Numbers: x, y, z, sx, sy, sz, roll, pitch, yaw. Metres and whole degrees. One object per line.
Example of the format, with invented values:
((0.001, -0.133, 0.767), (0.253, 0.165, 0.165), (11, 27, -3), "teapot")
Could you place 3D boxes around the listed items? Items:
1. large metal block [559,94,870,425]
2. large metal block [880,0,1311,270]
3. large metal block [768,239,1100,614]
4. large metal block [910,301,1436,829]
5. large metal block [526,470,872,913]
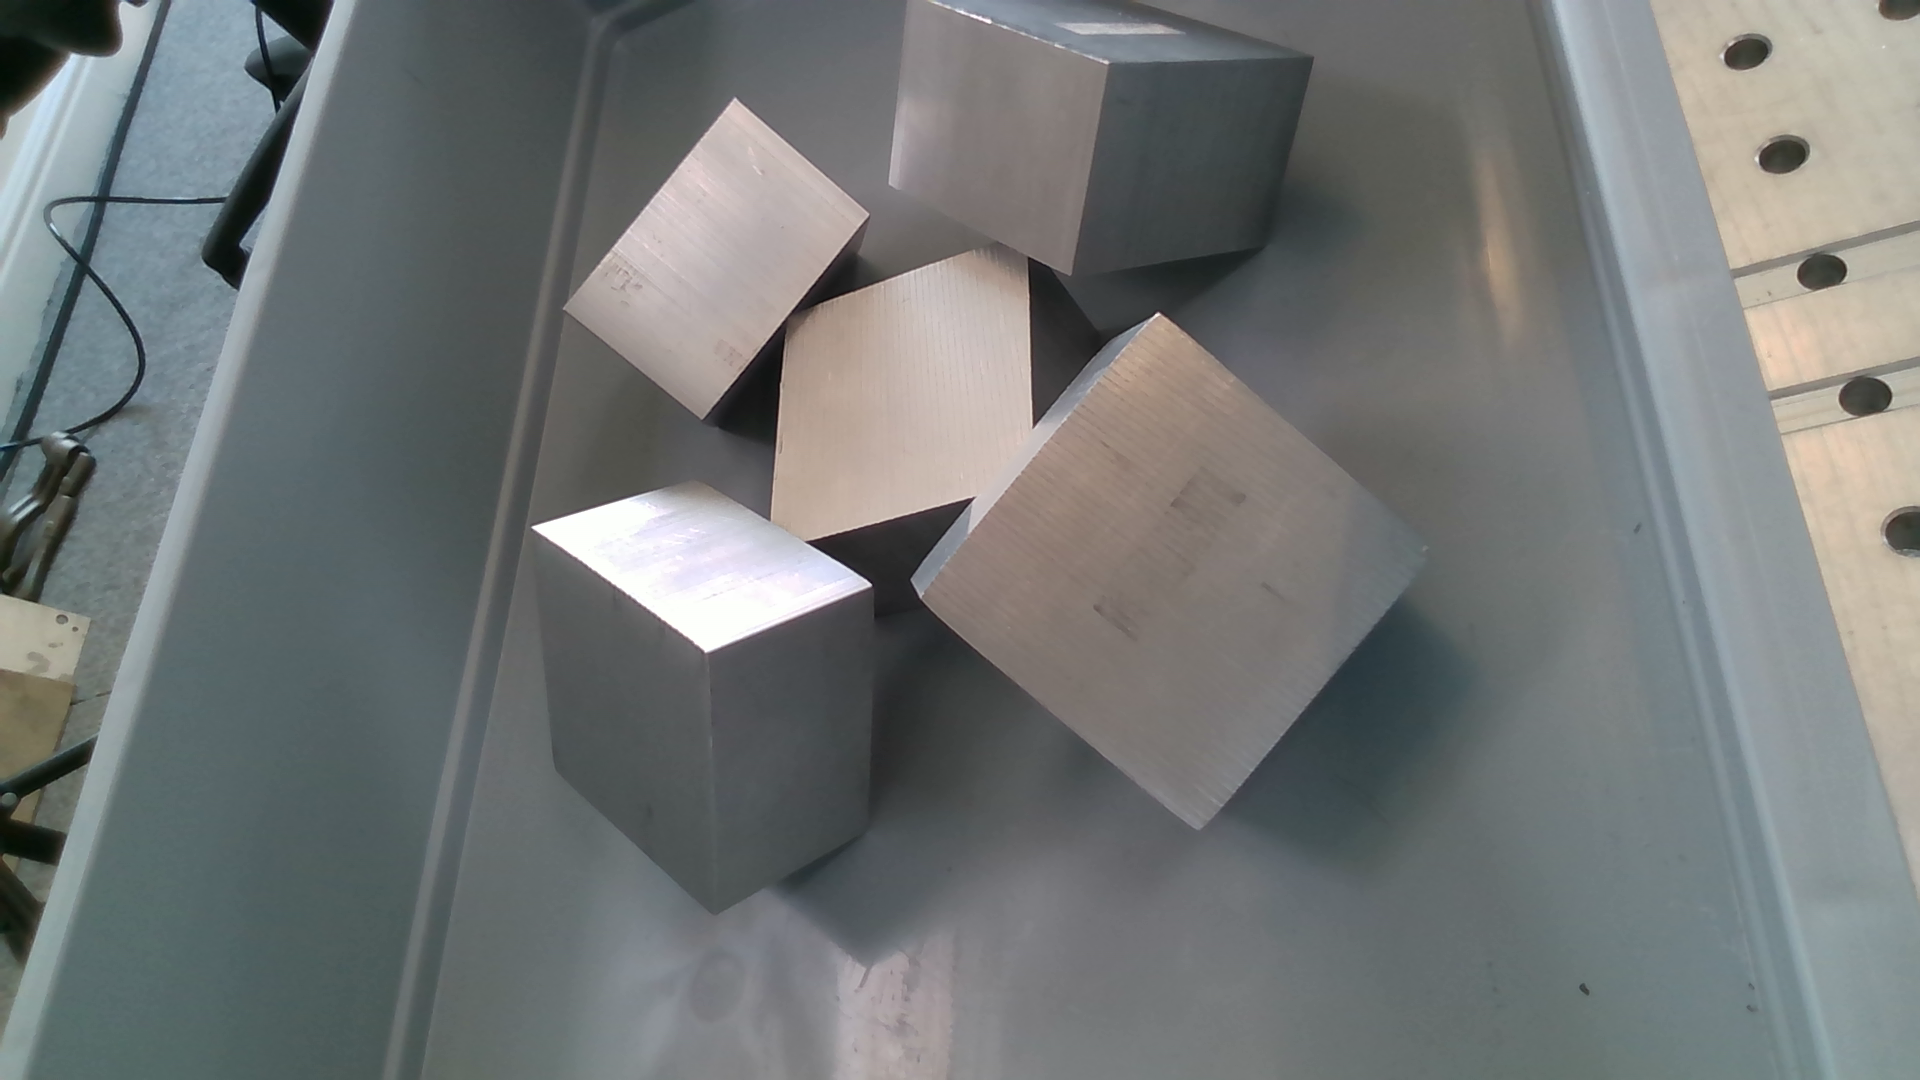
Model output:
((-0.075, -0.084, 0.440), (0.080, 0.050, 0.080), (-51, 7, -1), "large metal block")
((0.036, -0.118, 0.386), (0.080, 0.080, 0.050), (36, 130, 39), "large metal block")
((-0.006, -0.031, 0.394), (0.080, 0.050, 0.080), (-14, 59, 25), "large metal block")
((0.045, 0.005, 0.318), (0.080, 0.050, 0.080), (40, 89, -4), "large metal block")
((-0.070, 0.037, 0.370), (0.080, 0.050, 0.080), (28, 127, 38), "large metal block")
